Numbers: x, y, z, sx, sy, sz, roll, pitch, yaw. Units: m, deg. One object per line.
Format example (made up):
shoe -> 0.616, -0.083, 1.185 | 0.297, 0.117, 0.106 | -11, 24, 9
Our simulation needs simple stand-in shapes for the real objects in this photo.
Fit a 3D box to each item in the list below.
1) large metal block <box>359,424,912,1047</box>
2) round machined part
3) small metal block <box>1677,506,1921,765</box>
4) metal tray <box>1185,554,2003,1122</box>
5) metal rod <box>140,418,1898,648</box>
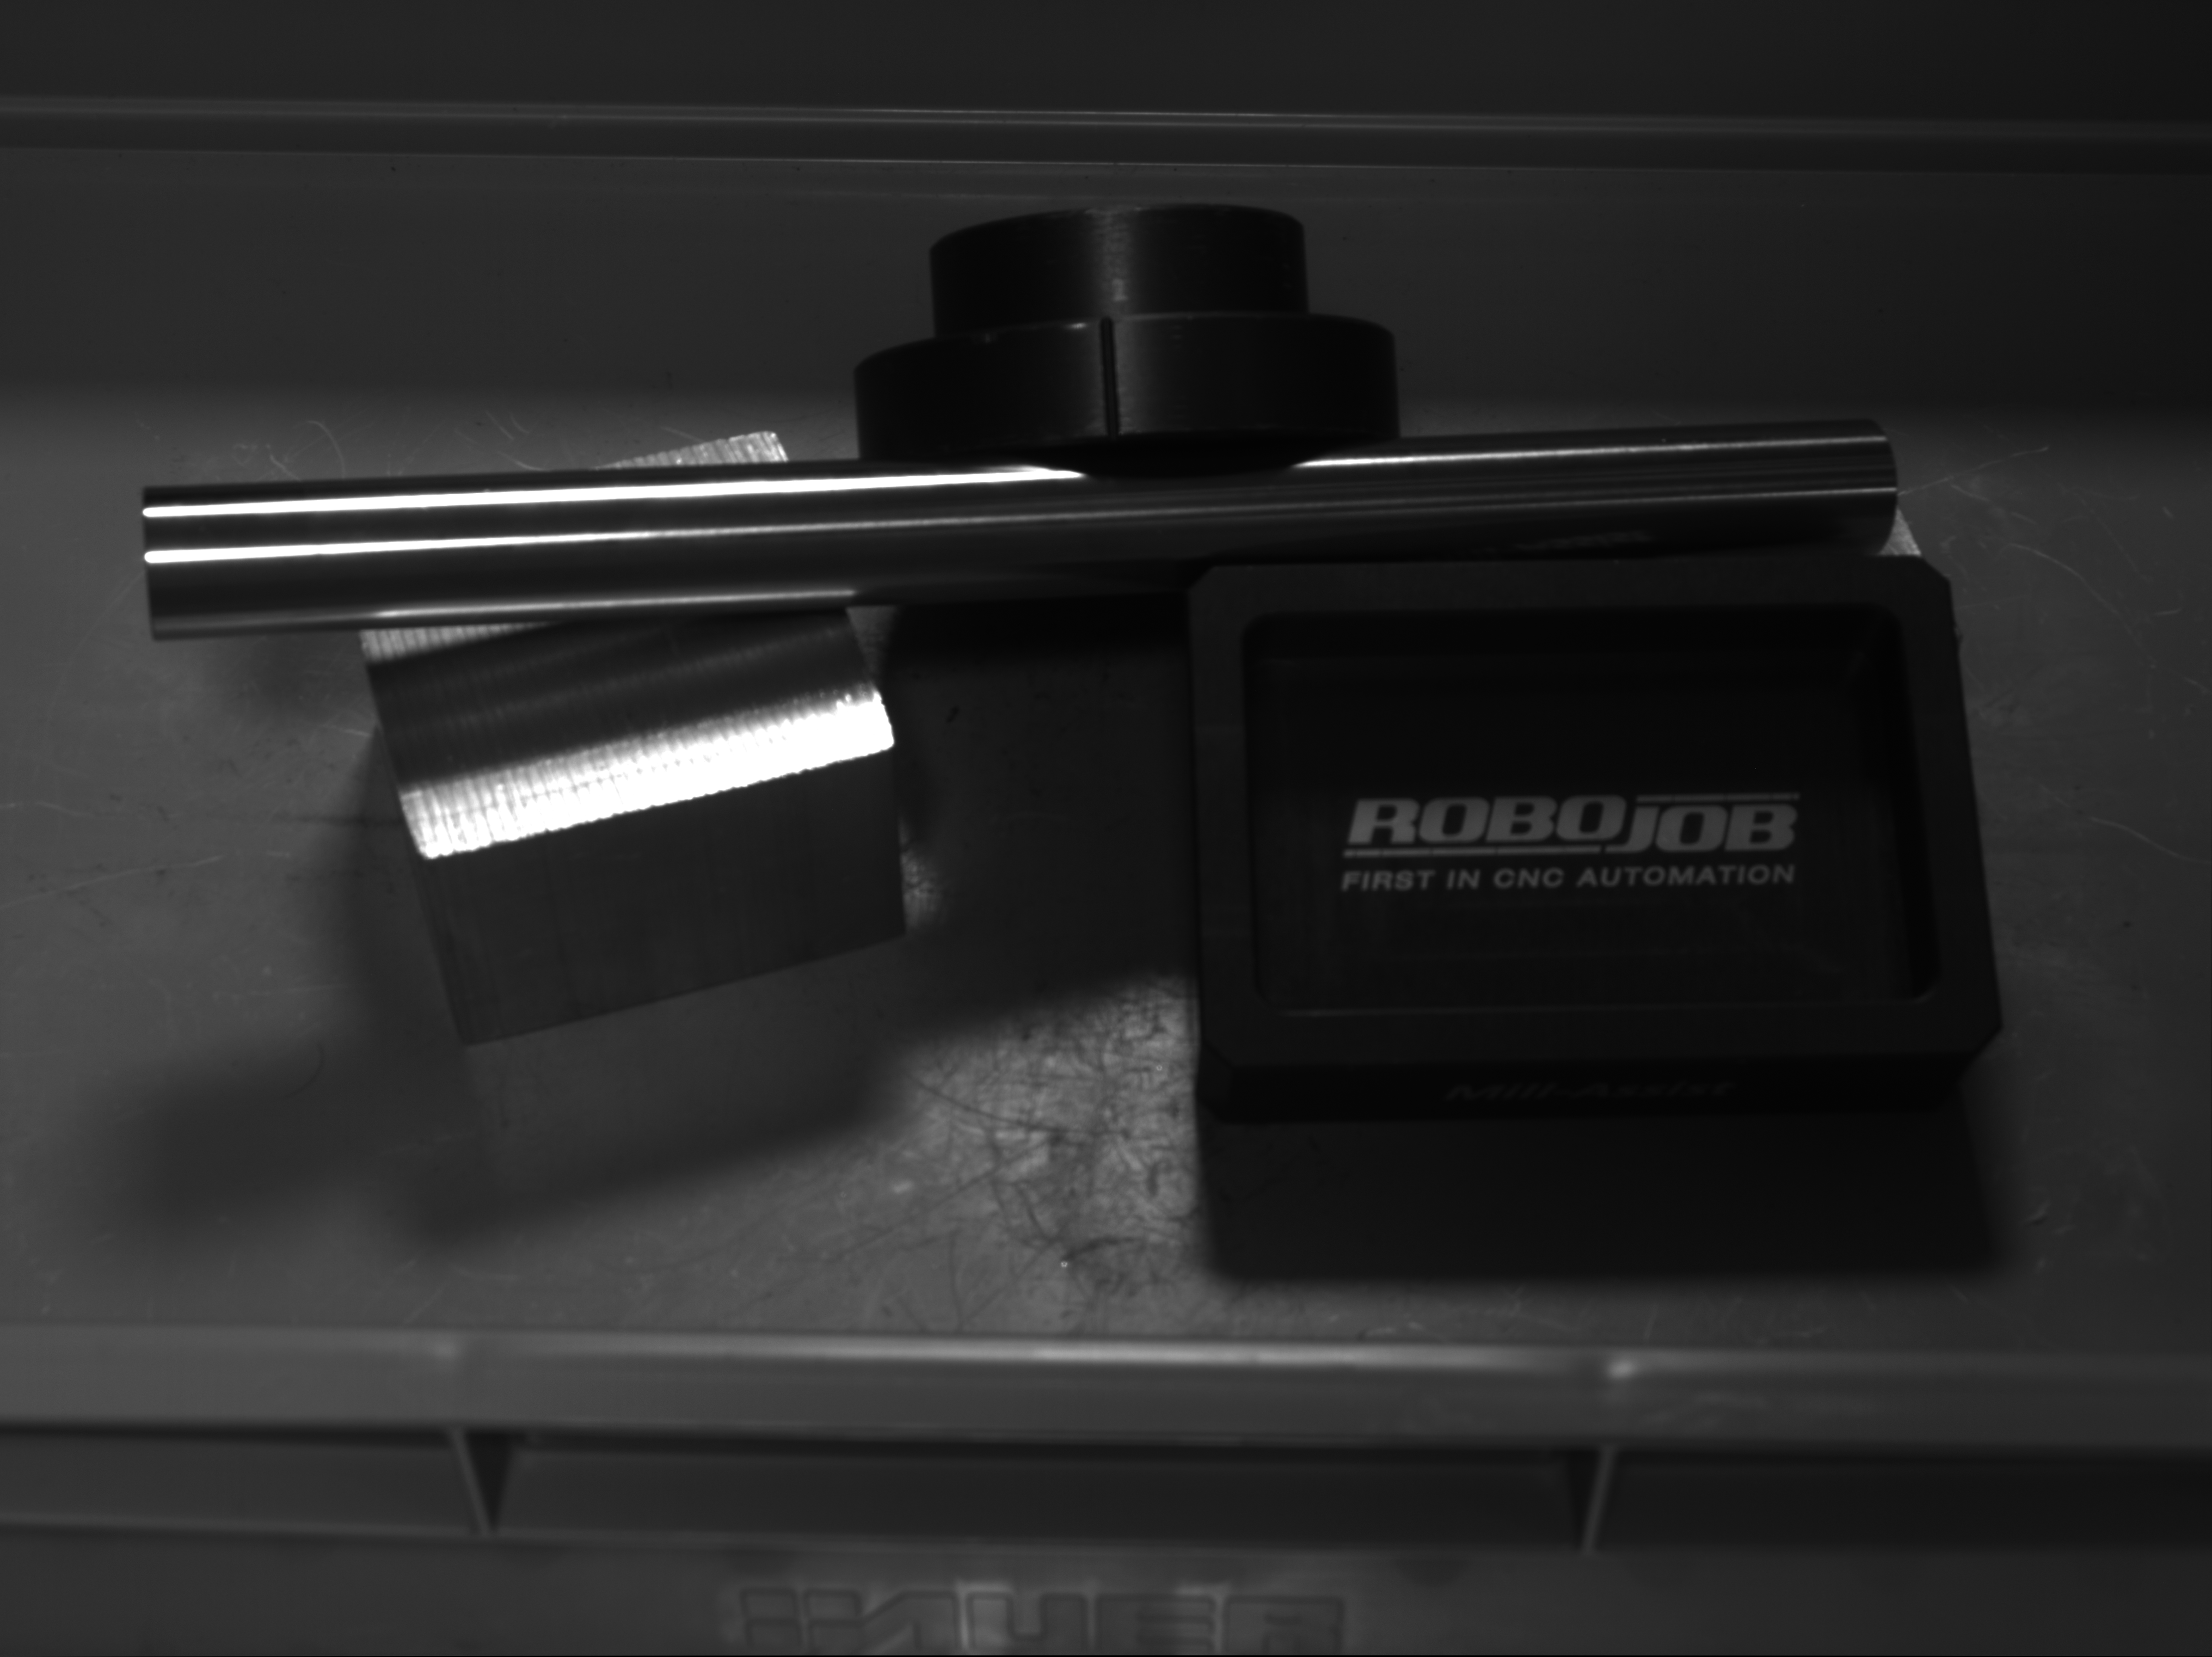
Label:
large metal block -> -0.084, -0.017, 0.638 | 0.080, 0.050, 0.080 | -14, 51, -11
round machined part -> 0.003, -0.086, 0.663 | 0.098, 0.098, 0.042 | -3, 90, -3
small metal block -> 0.123, -0.041, 0.675 | 0.050, 0.025, 0.050 | -9, 50, -7
metal tray -> 0.079, 0.001, 0.618 | 0.130, 0.030, 0.090 | -1, 69, -1
metal rod -> -0.009, -0.052, 0.626 | 0.300, 0.025, 0.025 | -4, 50, -13
